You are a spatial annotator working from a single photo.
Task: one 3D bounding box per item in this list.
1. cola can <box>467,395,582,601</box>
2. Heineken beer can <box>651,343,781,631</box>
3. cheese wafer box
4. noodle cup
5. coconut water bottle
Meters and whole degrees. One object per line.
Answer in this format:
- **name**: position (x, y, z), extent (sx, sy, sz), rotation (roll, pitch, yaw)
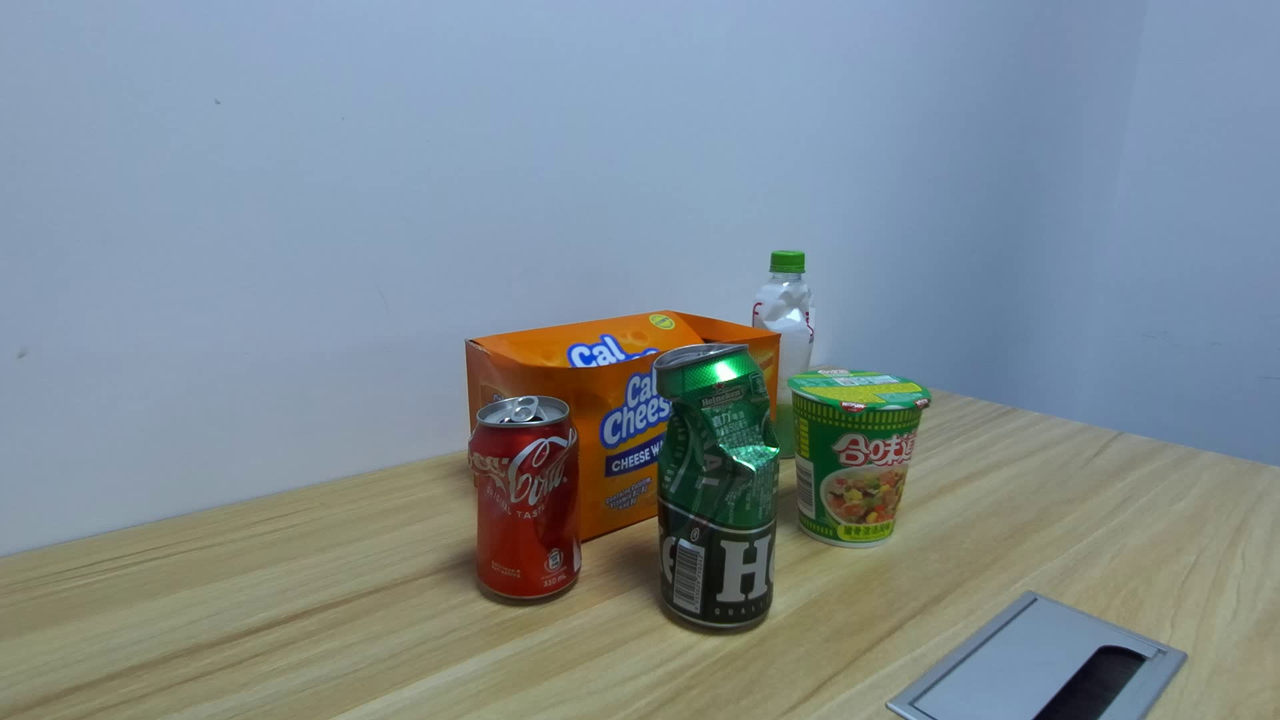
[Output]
- **cola can**: position (-0.070, 0.083, 0.435), extent (0.066, 0.117, 0.066), rotation (12, 18, 41)
- **Heineken beer can**: position (0.046, 0.071, 0.407), extent (0.078, 0.159, 0.067), rotation (-1, 8, 25)
- **cheese wafer box**: position (-0.010, 0.043, 0.588), extent (0.231, 0.132, 0.151), rotation (-10, 17, -39)
- **noodle cup**: position (0.150, 0.070, 0.508), extent (0.097, 0.110, 0.097), rotation (2, 15, 0)
- **coconut water bottle**: position (0.136, -0.005, 0.660), extent (0.069, 0.186, 0.069), rotation (3, 9, 0)
